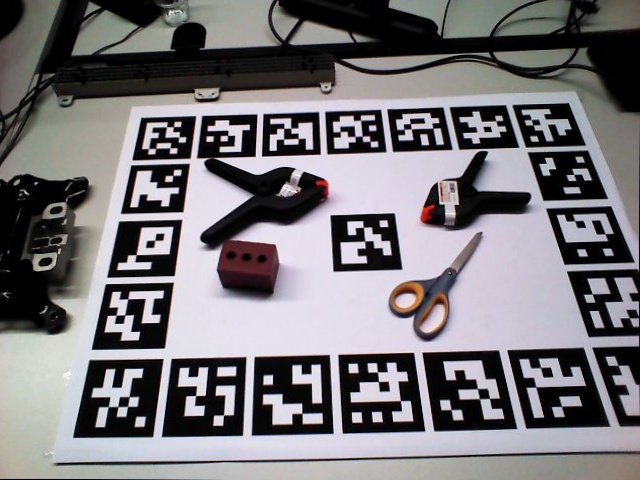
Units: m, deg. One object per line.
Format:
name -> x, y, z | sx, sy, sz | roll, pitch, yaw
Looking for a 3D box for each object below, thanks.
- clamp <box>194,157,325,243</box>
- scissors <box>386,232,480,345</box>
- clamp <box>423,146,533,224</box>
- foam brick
clamp -> -0.093, -0.073, 0.814 | 0.203, 0.037, 0.164 | -5, 56, -2
scissors -> 0.174, 0.054, 0.737 | 0.088, 0.016, 0.201 | 37, 65, 13
clamp -> 0.234, -0.073, 0.809 | 0.165, 0.037, 0.121 | -26, 69, -13
foam brick -> -0.108, 0.041, 0.740 | 0.078, 0.051, 0.052 | 3, 60, 9
